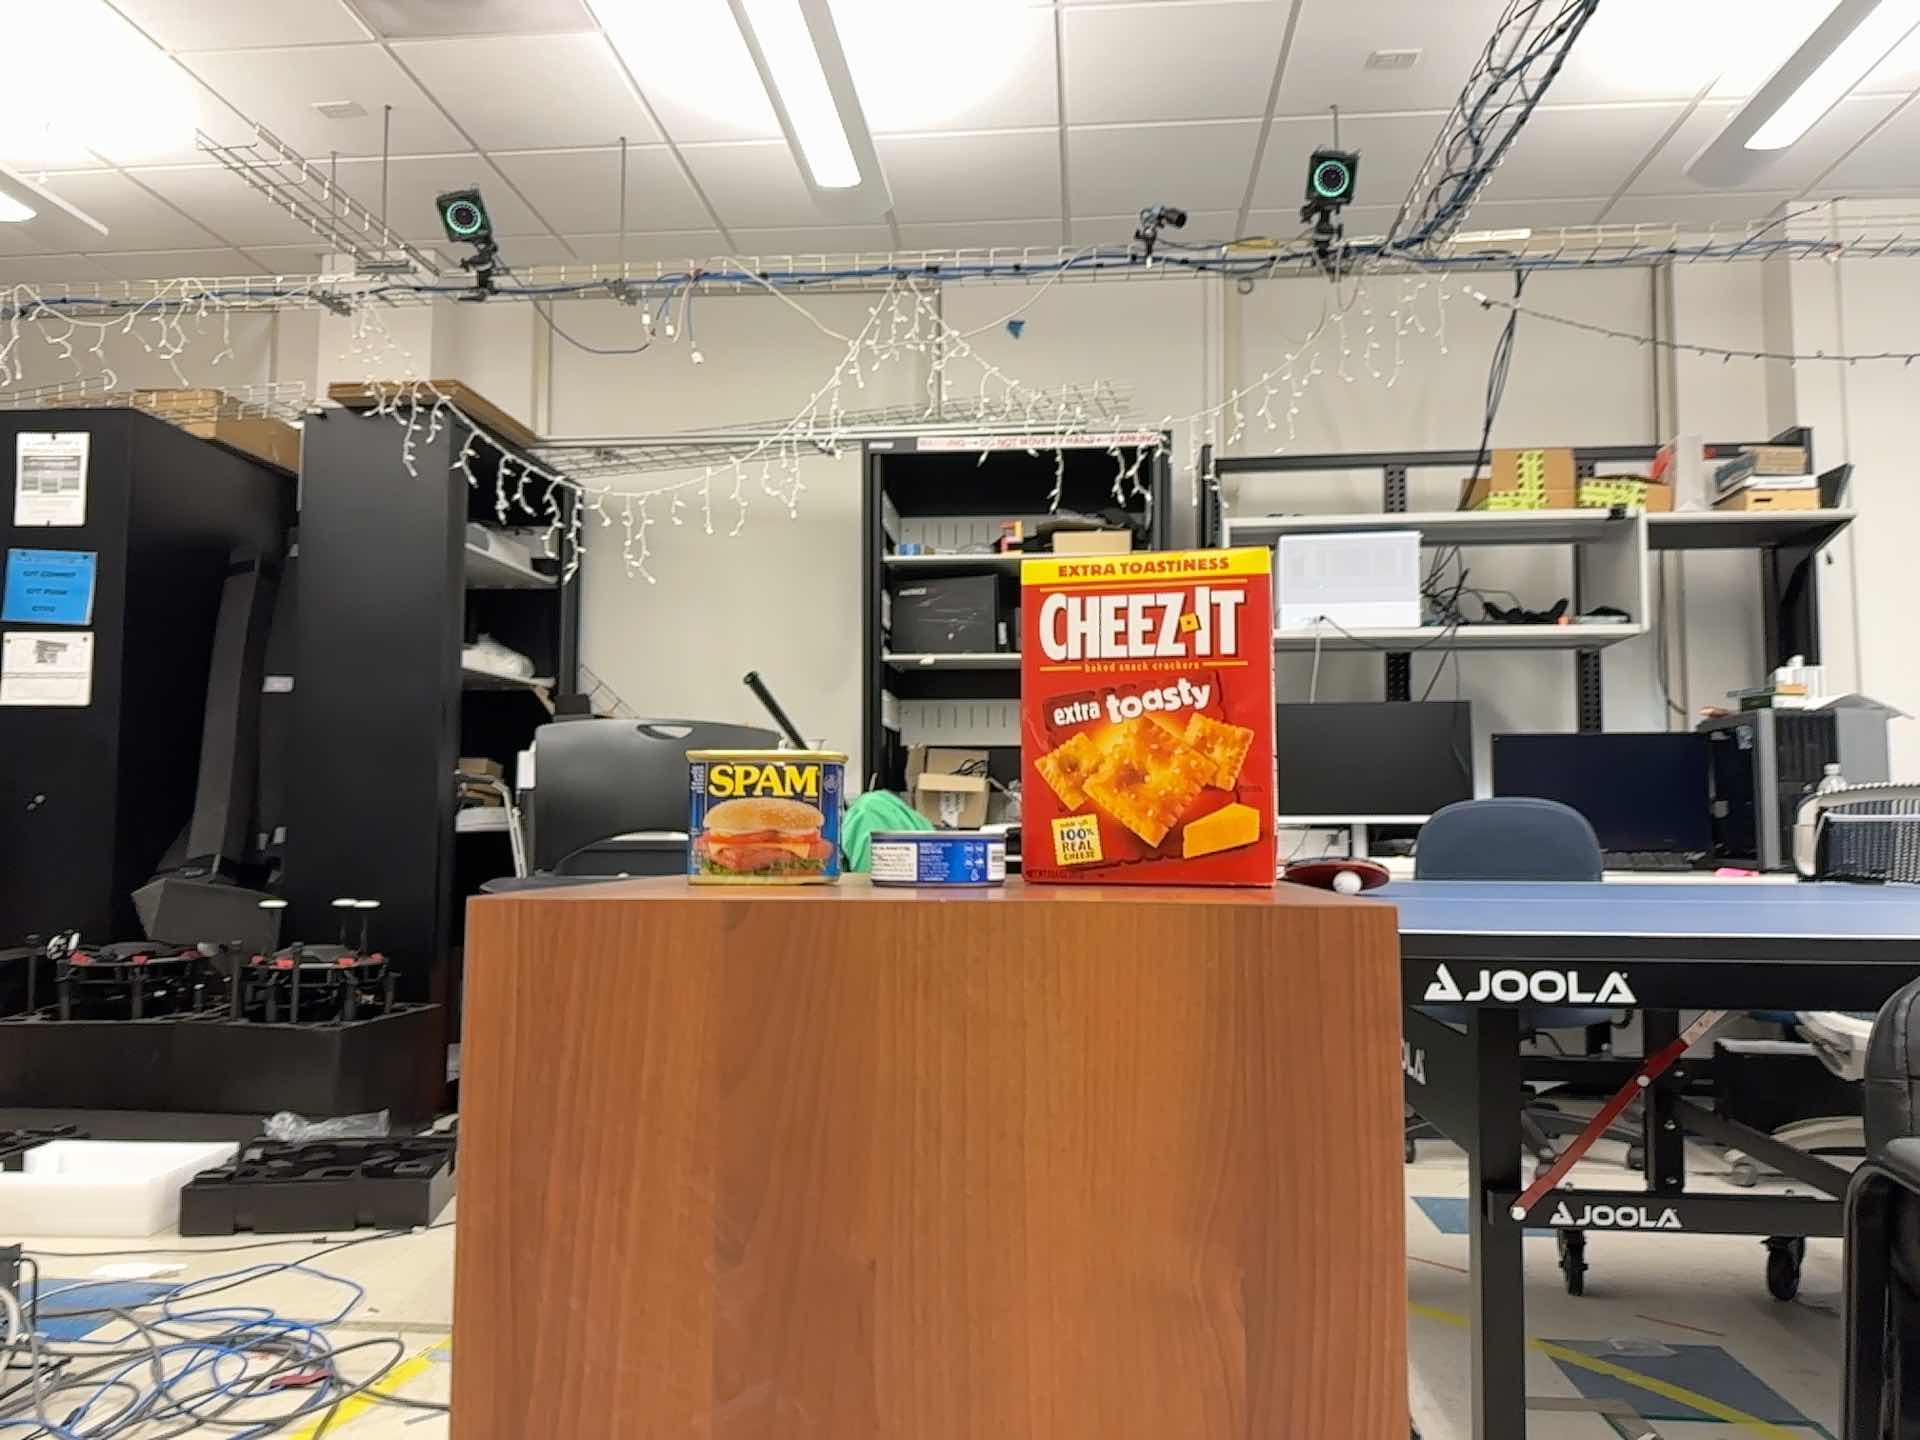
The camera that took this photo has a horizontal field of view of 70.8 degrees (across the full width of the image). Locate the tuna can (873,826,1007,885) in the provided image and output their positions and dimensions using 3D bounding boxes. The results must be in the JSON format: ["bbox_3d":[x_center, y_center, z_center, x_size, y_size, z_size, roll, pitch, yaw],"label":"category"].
[{"bbox_3d":[-0.012,0.086,0.848,0.083,0.034,0.083,0,-8,0],"label":"tuna can"}]

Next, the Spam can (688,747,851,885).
[{"bbox_3d":[-0.123,0.062,0.868,0.100,0.083,0.056,-1,-6,14],"label":"Spam can"}]

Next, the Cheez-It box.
[{"bbox_3d":[0.126,0.003,0.903,0.159,0.214,0.062,-1,-6,11],"label":"Cheez-It box"}]
